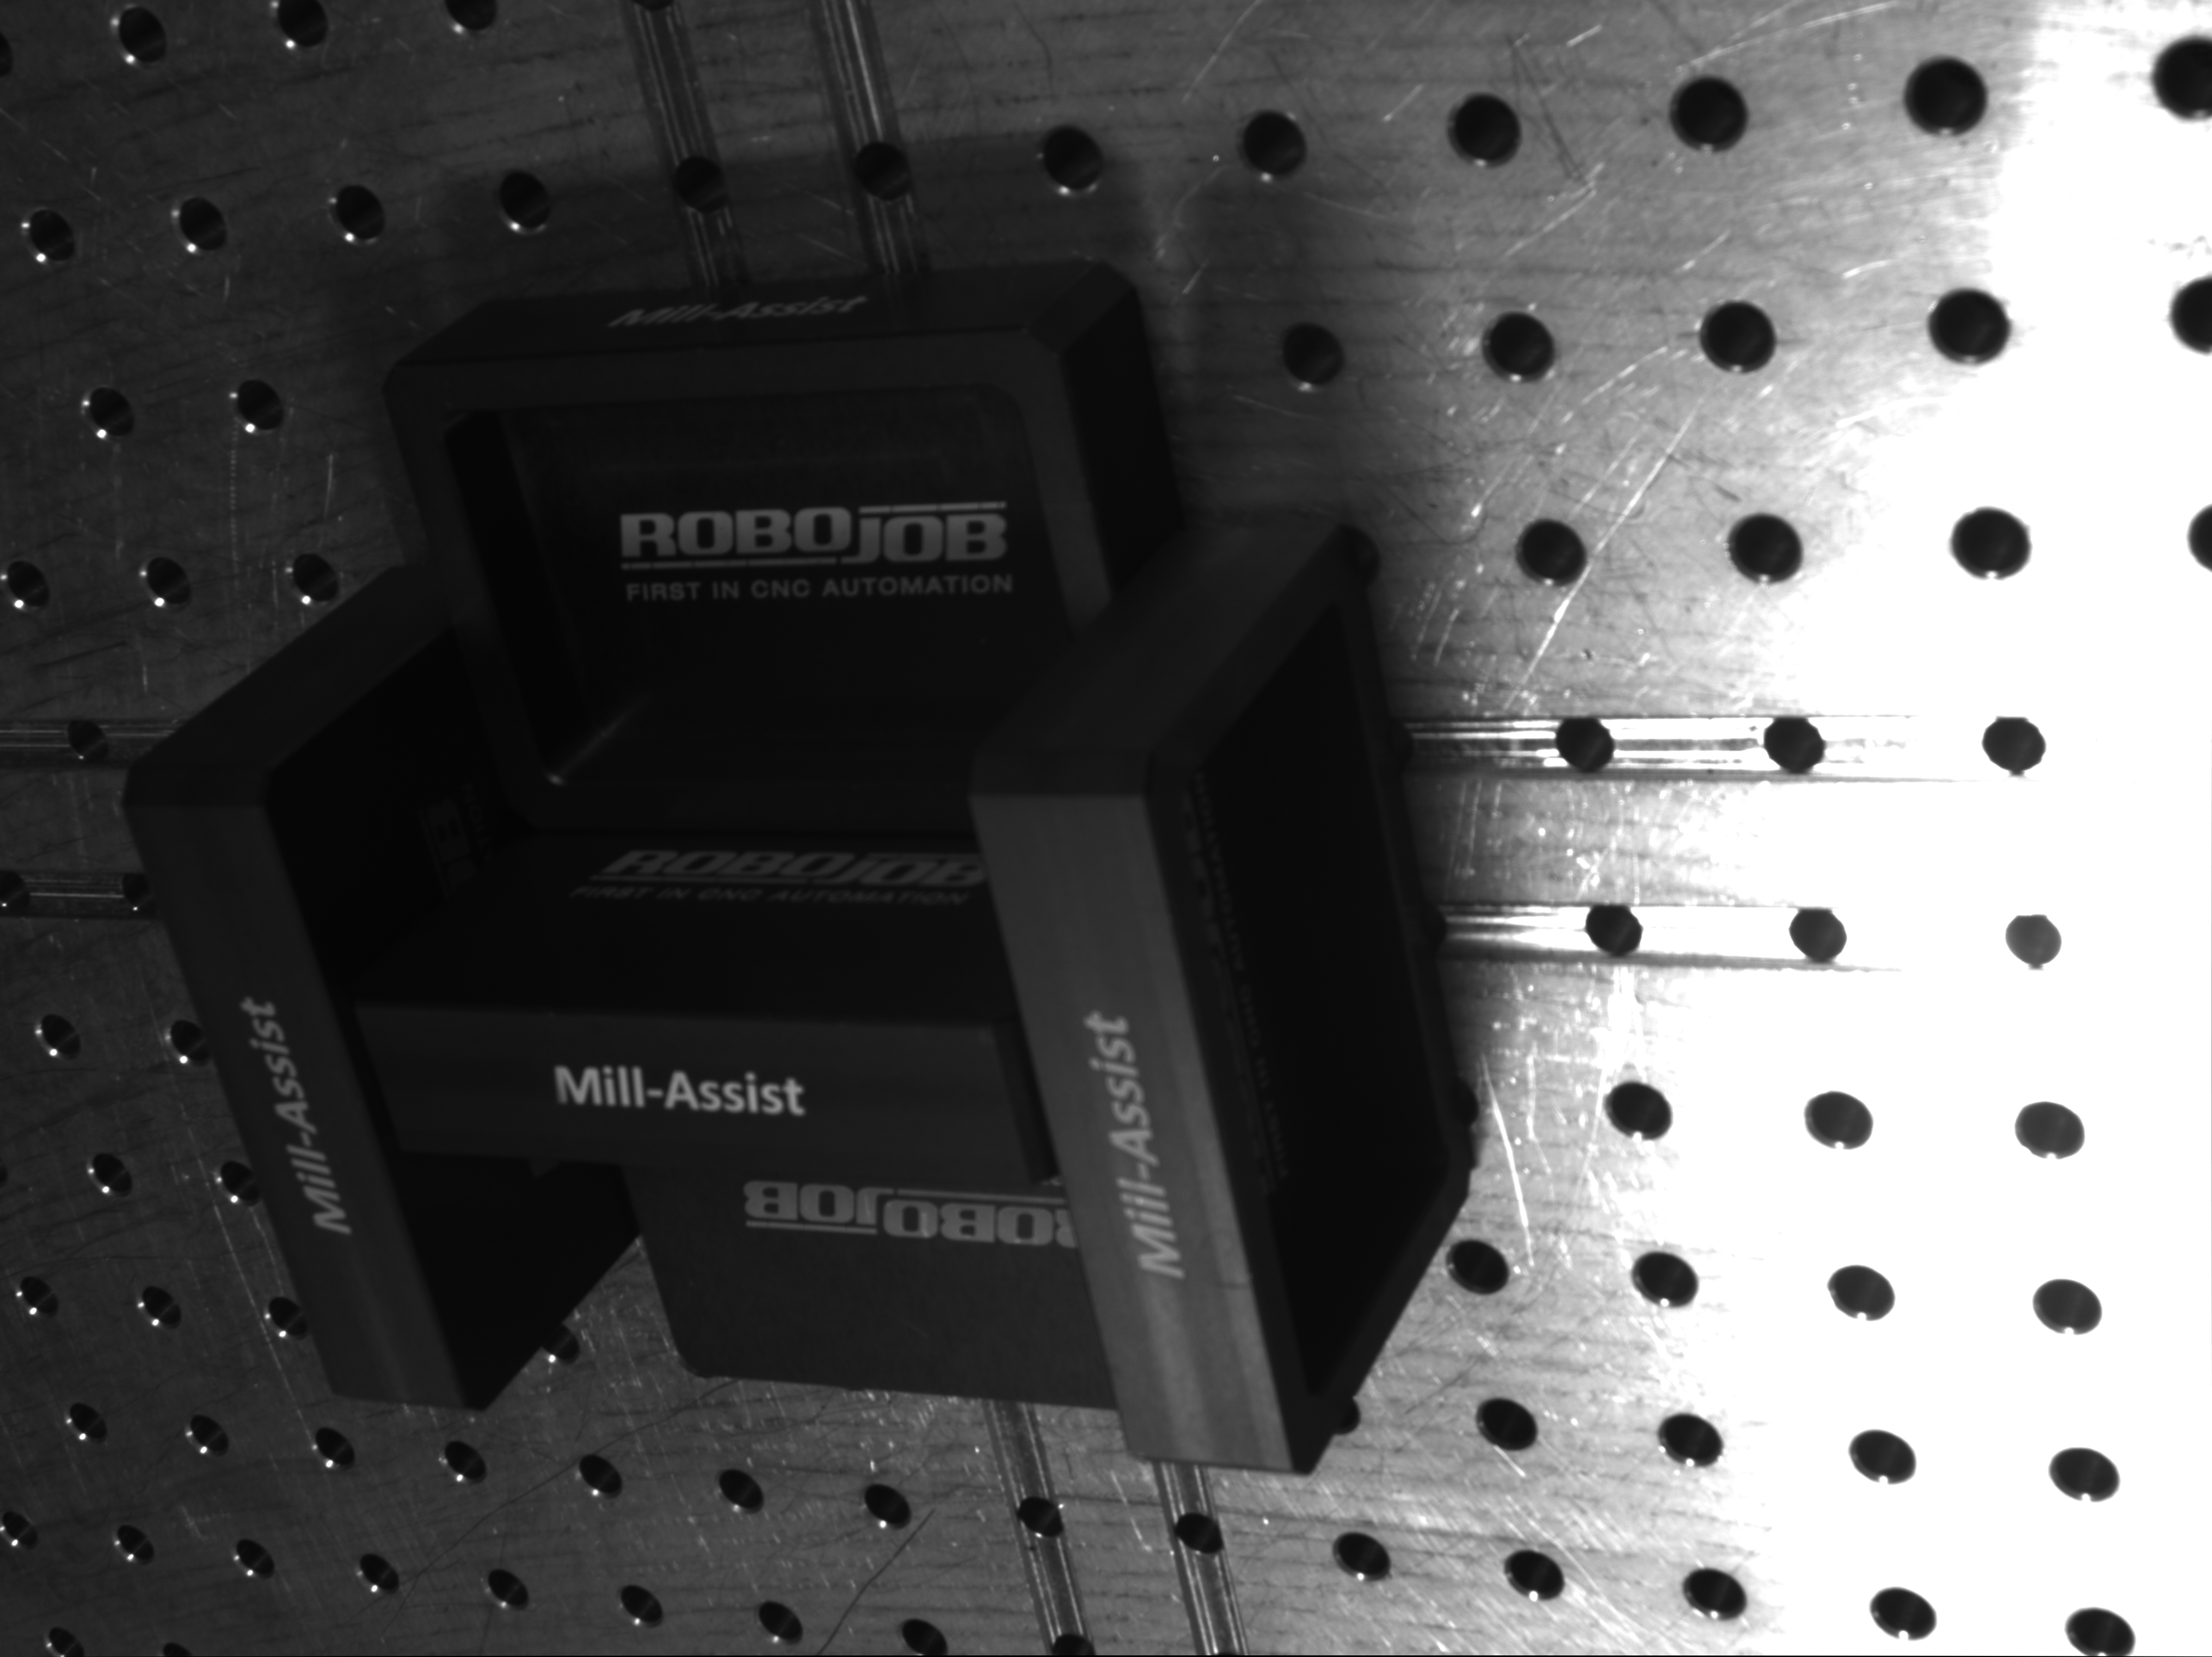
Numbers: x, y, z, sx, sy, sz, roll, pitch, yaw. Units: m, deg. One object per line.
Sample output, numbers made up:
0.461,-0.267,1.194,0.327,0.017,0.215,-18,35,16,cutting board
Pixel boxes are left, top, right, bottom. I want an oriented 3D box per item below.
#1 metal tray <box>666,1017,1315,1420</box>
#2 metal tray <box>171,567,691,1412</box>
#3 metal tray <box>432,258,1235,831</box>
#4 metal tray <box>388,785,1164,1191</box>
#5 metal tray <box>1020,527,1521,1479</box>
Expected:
-0.019,0.062,0.676,0.130,0.030,0.090,0,118,26,metal tray
-0.113,0.028,0.666,0.030,0.090,0.130,1,119,26,metal tray
-0.043,-0.046,0.625,0.130,0.030,0.090,0,118,26,metal tray
-0.044,0.022,0.626,0.130,0.090,0.030,1,118,26,metal tray
0.030,0.027,0.593,0.030,0.090,0.130,1,119,26,metal tray
